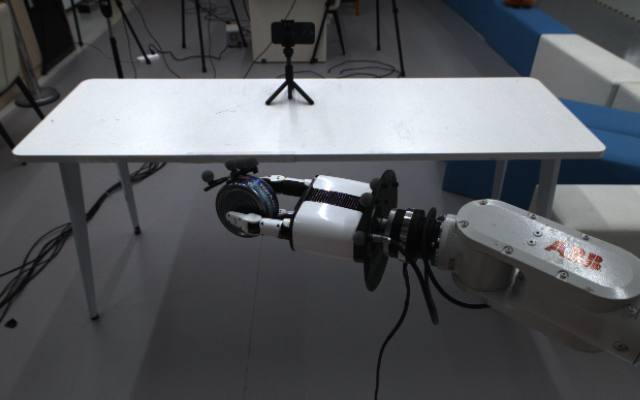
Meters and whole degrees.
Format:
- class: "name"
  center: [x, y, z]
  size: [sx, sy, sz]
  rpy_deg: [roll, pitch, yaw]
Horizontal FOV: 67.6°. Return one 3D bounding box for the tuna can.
- class: "tuna can"
  center: [-0.100, 0.016, 0.678]
  size: [0.085, 0.085, 0.034]
  rpy_deg: [15, 30, 17]
